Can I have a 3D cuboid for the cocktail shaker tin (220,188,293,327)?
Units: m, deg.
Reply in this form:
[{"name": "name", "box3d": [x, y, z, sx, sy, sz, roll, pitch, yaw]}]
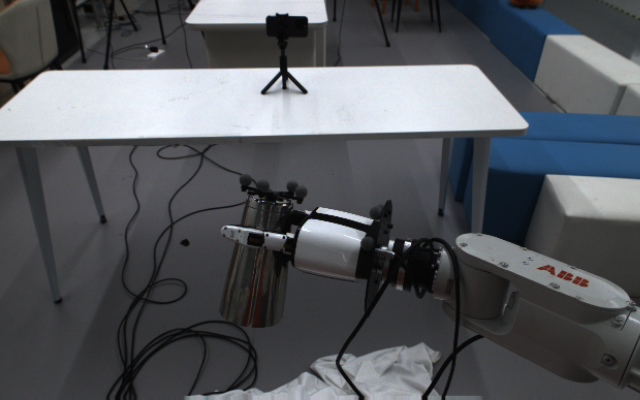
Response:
[{"name": "cocktail shaker tin", "box3d": [-0.081, 0.080, 0.684, 0.093, 0.170, 0.093, 10, 9, -2]}]
